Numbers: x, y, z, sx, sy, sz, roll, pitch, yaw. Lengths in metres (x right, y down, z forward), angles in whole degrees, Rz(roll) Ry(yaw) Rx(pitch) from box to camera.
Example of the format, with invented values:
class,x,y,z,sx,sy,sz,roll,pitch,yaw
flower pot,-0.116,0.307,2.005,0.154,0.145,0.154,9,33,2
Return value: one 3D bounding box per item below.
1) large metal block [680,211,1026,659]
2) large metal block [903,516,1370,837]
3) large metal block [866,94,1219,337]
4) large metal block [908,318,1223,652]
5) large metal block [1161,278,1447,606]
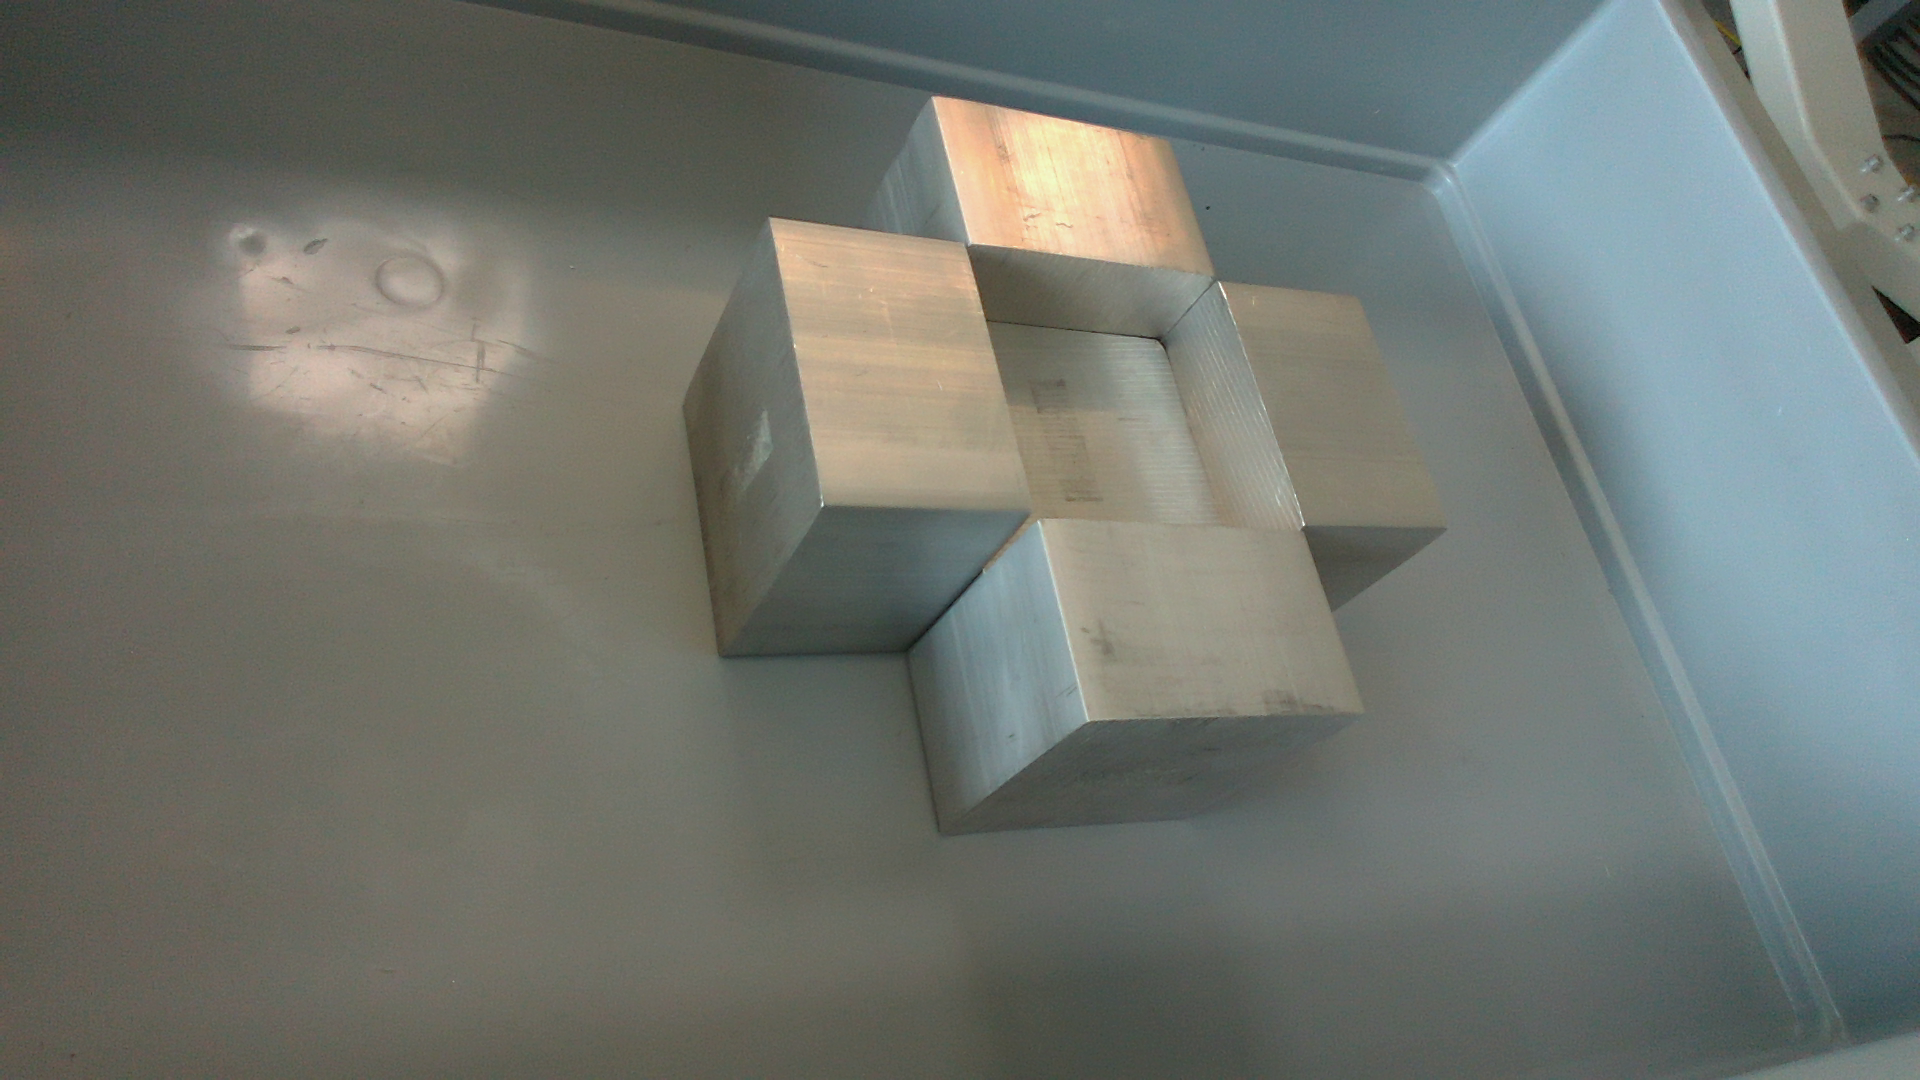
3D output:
class,x,y,z,sx,sy,sz,roll,pitch,yaw
large metal block,-0.032,-0.023,0.351,0.050,0.080,0.080,1,61,-28
large metal block,0.041,0.037,0.352,0.080,0.080,0.050,2,61,-27
large metal block,0.016,-0.079,0.409,0.080,0.080,0.050,1,61,-28
large metal block,0.023,-0.014,0.392,0.080,0.050,0.080,1,61,-28
large metal block,0.086,-0.019,0.412,0.050,0.080,0.080,1,61,-28
